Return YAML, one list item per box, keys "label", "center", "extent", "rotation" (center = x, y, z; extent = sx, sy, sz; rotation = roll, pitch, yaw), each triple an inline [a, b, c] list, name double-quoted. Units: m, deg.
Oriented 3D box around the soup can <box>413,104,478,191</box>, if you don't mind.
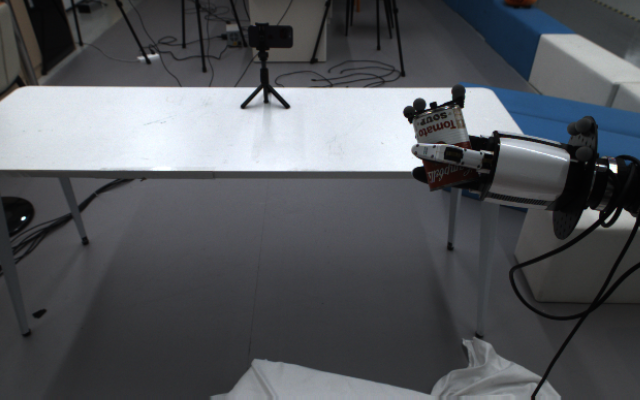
- label: "soup can"
  center: [0.169, -0.069, 0.653]
  extent: [0.067, 0.101, 0.067]
  rotation: [-14, -2, -1]
